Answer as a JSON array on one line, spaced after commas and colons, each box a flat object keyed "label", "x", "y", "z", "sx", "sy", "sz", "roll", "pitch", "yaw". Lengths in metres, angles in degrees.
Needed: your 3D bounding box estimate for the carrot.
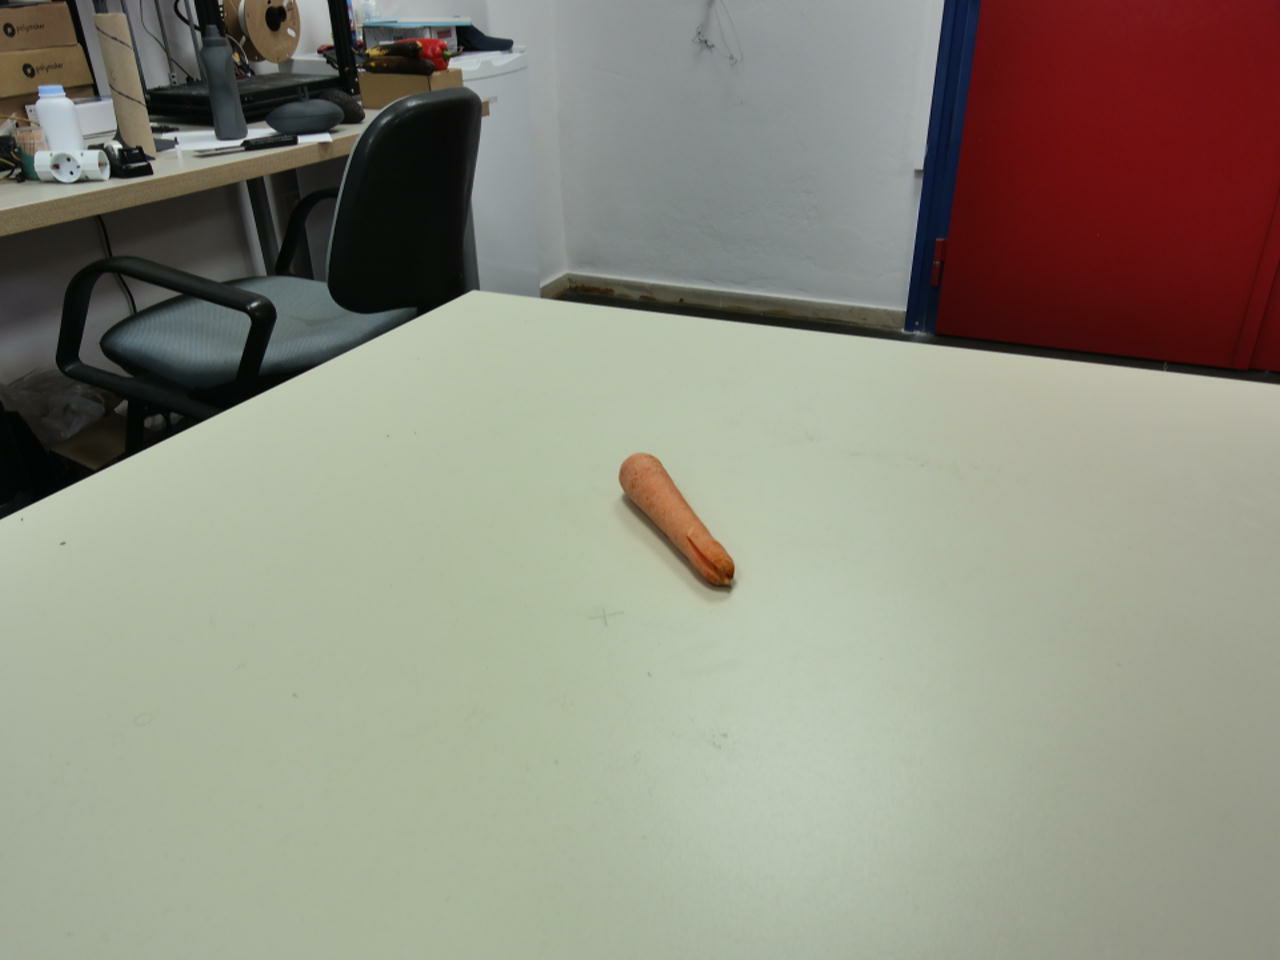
[{"label": "carrot", "x": 0.020, "y": 0.019, "z": 0.576, "sx": 0.030, "sy": 0.032, "sz": 0.136, "roll": -9, "pitch": 26, "yaw": -19}]
